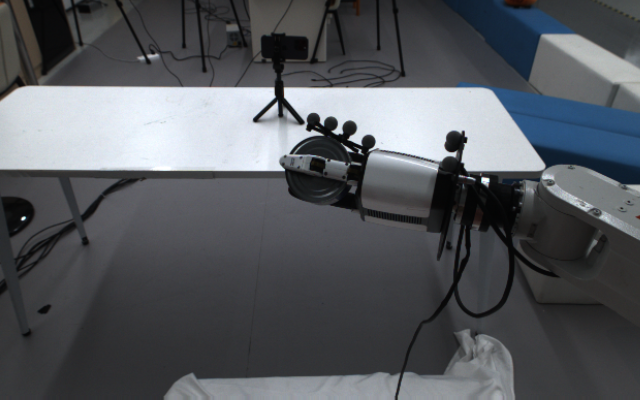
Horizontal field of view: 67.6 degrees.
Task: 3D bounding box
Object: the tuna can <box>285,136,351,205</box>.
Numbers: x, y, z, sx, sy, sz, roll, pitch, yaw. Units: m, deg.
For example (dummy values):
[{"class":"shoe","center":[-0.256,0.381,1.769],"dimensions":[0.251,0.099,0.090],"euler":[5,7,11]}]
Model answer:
[{"class":"tuna can","center":[0.003,-0.038,0.618],"dimensions":[0.085,0.085,0.034],"euler":[13,-6,16]}]
